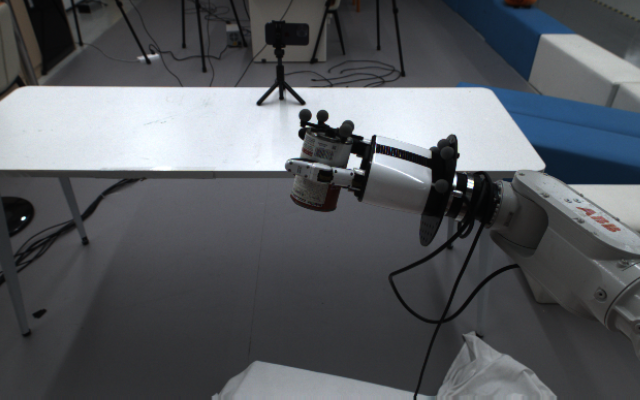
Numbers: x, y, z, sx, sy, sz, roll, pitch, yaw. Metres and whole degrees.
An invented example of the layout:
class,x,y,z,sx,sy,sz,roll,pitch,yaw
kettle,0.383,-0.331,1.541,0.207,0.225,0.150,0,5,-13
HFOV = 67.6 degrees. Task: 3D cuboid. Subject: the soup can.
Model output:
class,x,y,z,sx,sy,sz,roll,pitch,yaw
soup can,0.003,-0.043,0.672,0.067,0.101,0.067,13,18,-4
